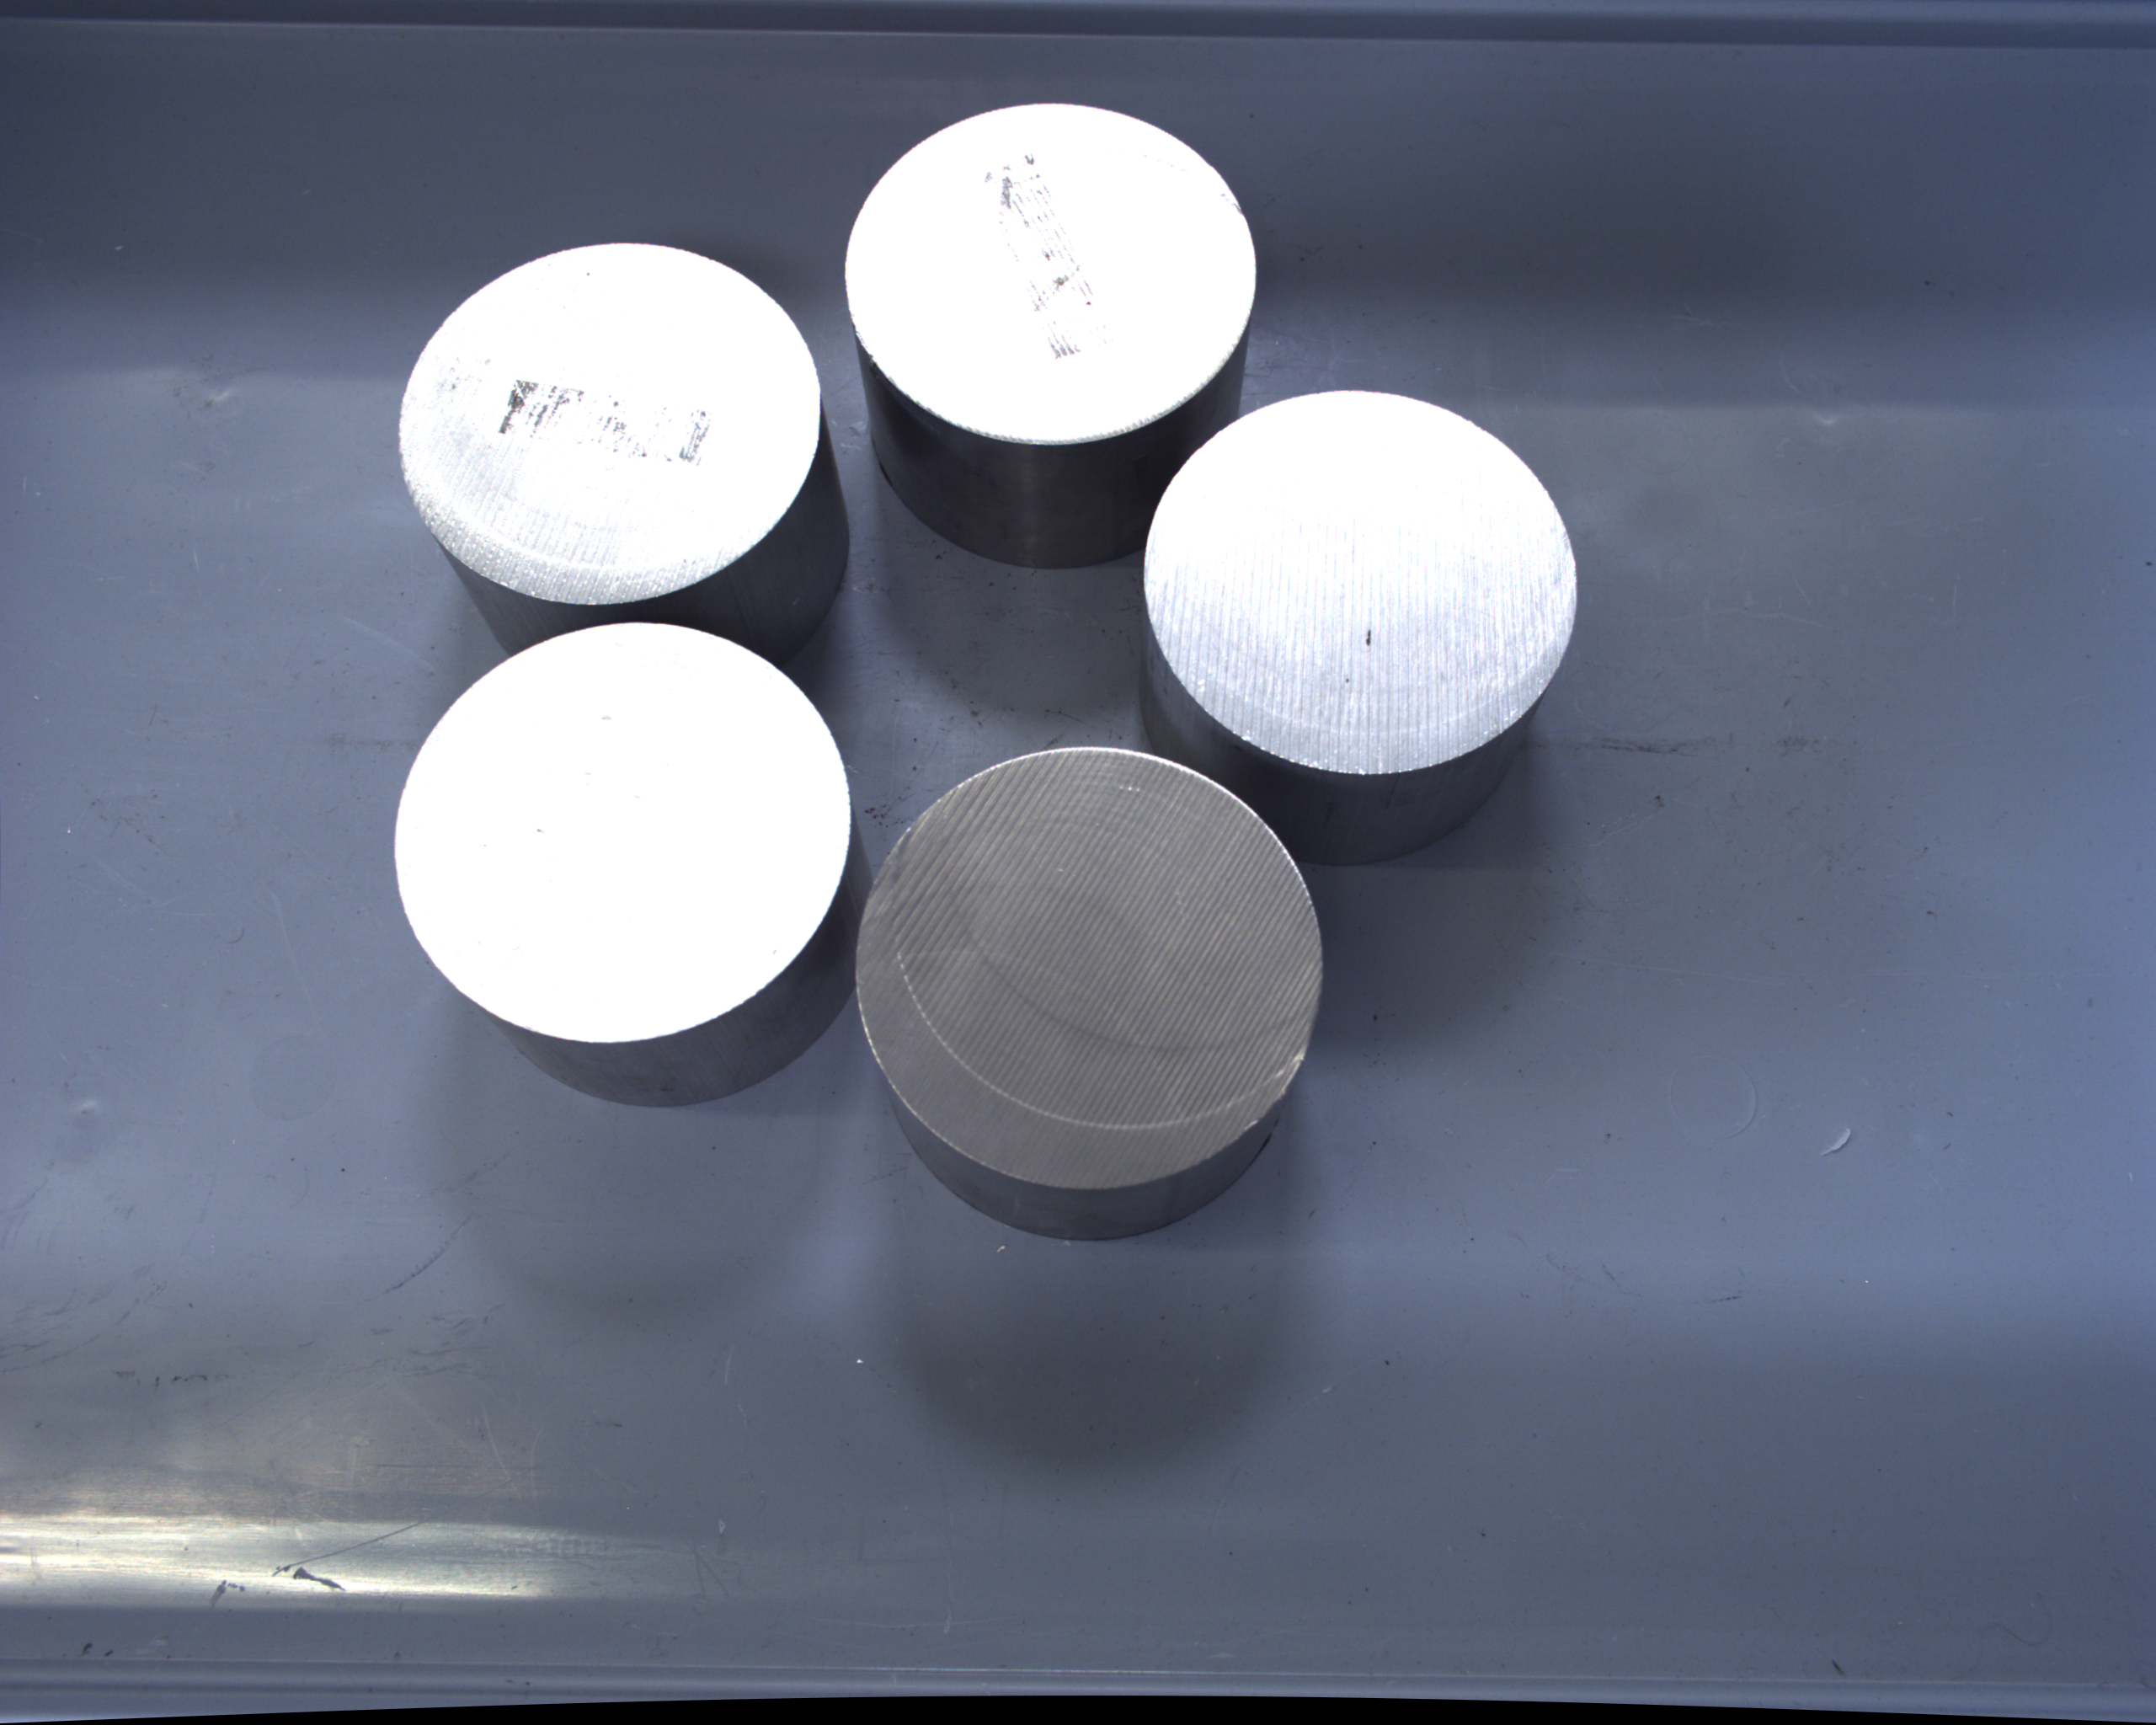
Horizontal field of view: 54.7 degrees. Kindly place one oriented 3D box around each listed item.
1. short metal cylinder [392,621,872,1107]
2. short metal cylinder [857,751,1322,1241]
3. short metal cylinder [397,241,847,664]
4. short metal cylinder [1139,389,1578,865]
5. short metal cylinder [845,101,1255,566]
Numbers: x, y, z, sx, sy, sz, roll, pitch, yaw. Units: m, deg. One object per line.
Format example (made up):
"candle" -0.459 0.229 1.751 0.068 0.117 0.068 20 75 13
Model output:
"short metal cylinder" -0.081 0.001 0.393 0.081 0.050 0.080 0 70 0
"short metal cylinder" 0.002 0.026 0.385 0.081 0.050 0.080 0 70 0
"short metal cylinder" -0.089 -0.077 0.422 0.081 0.050 0.080 0 70 0
"short metal cylinder" 0.053 -0.045 0.411 0.081 0.050 0.080 0 70 0
"short metal cylinder" -0.005 -0.109 0.434 0.081 0.050 0.080 0 70 0
